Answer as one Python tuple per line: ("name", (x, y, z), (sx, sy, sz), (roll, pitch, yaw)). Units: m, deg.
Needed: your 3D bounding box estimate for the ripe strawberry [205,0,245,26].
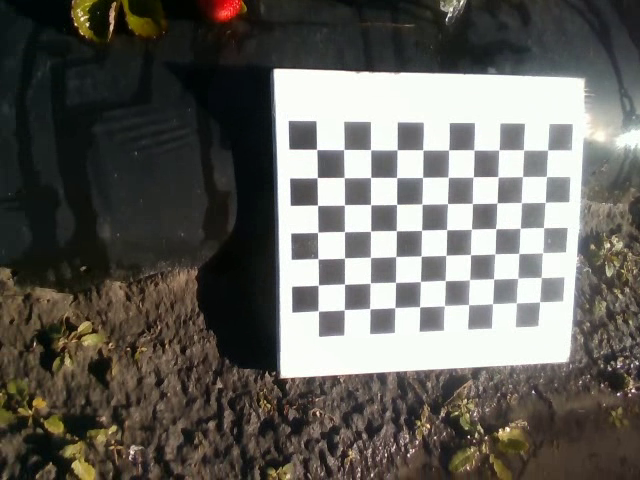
("ripe strawberry", (-0.058, -0.152, 0.457), (0.039, 0.040, 0.039), (-9, 33, -1))
